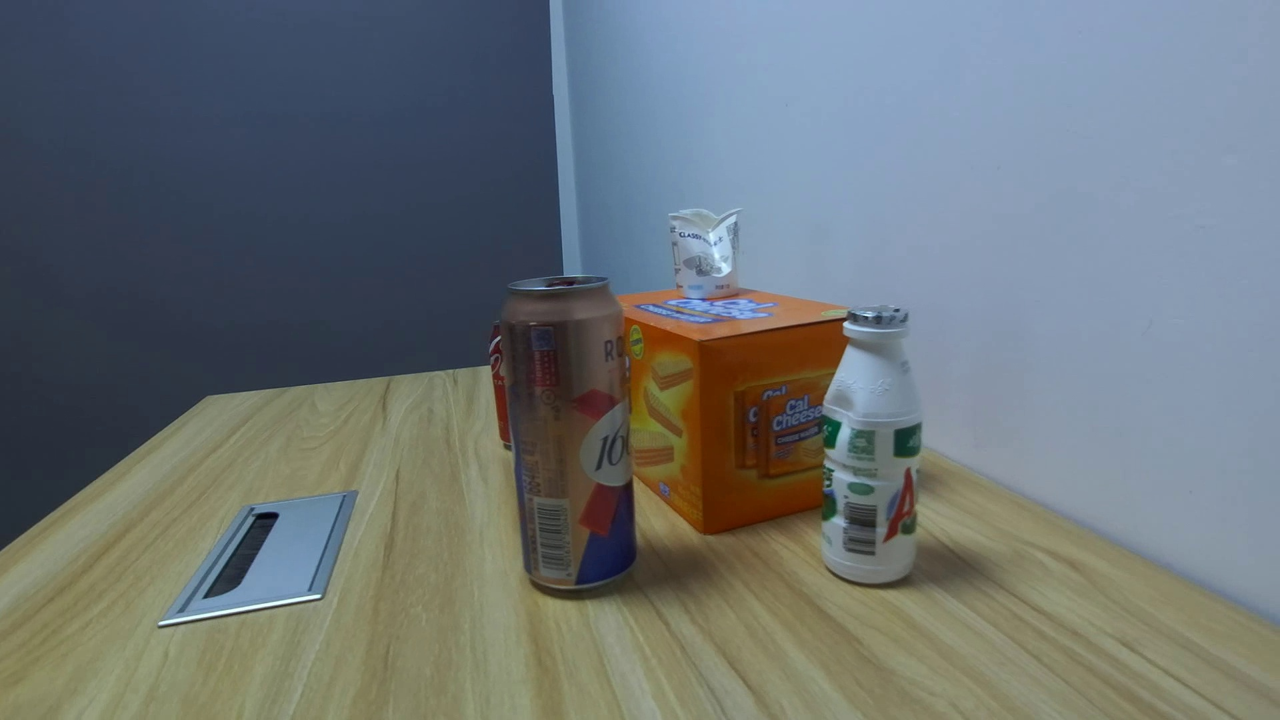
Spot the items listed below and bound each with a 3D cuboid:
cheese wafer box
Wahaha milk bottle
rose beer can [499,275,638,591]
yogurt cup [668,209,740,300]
[{"bbox_3d":[0.065,0.021,0.551,0.149,0.129,0.221,-9,14,-19],"label":"cheese wafer box"},{"bbox_3d":[0.125,0.051,0.383,0.053,0.136,0.053,-3,15,1],"label":"Wahaha milk bottle"},{"bbox_3d":[-0.039,0.042,0.396,0.068,0.169,0.068,-4,14,1],"label":"rose beer can"},{"bbox_3d":[0.057,-0.092,0.602,0.054,0.072,0.055,3,16,25],"label":"yogurt cup"}]
